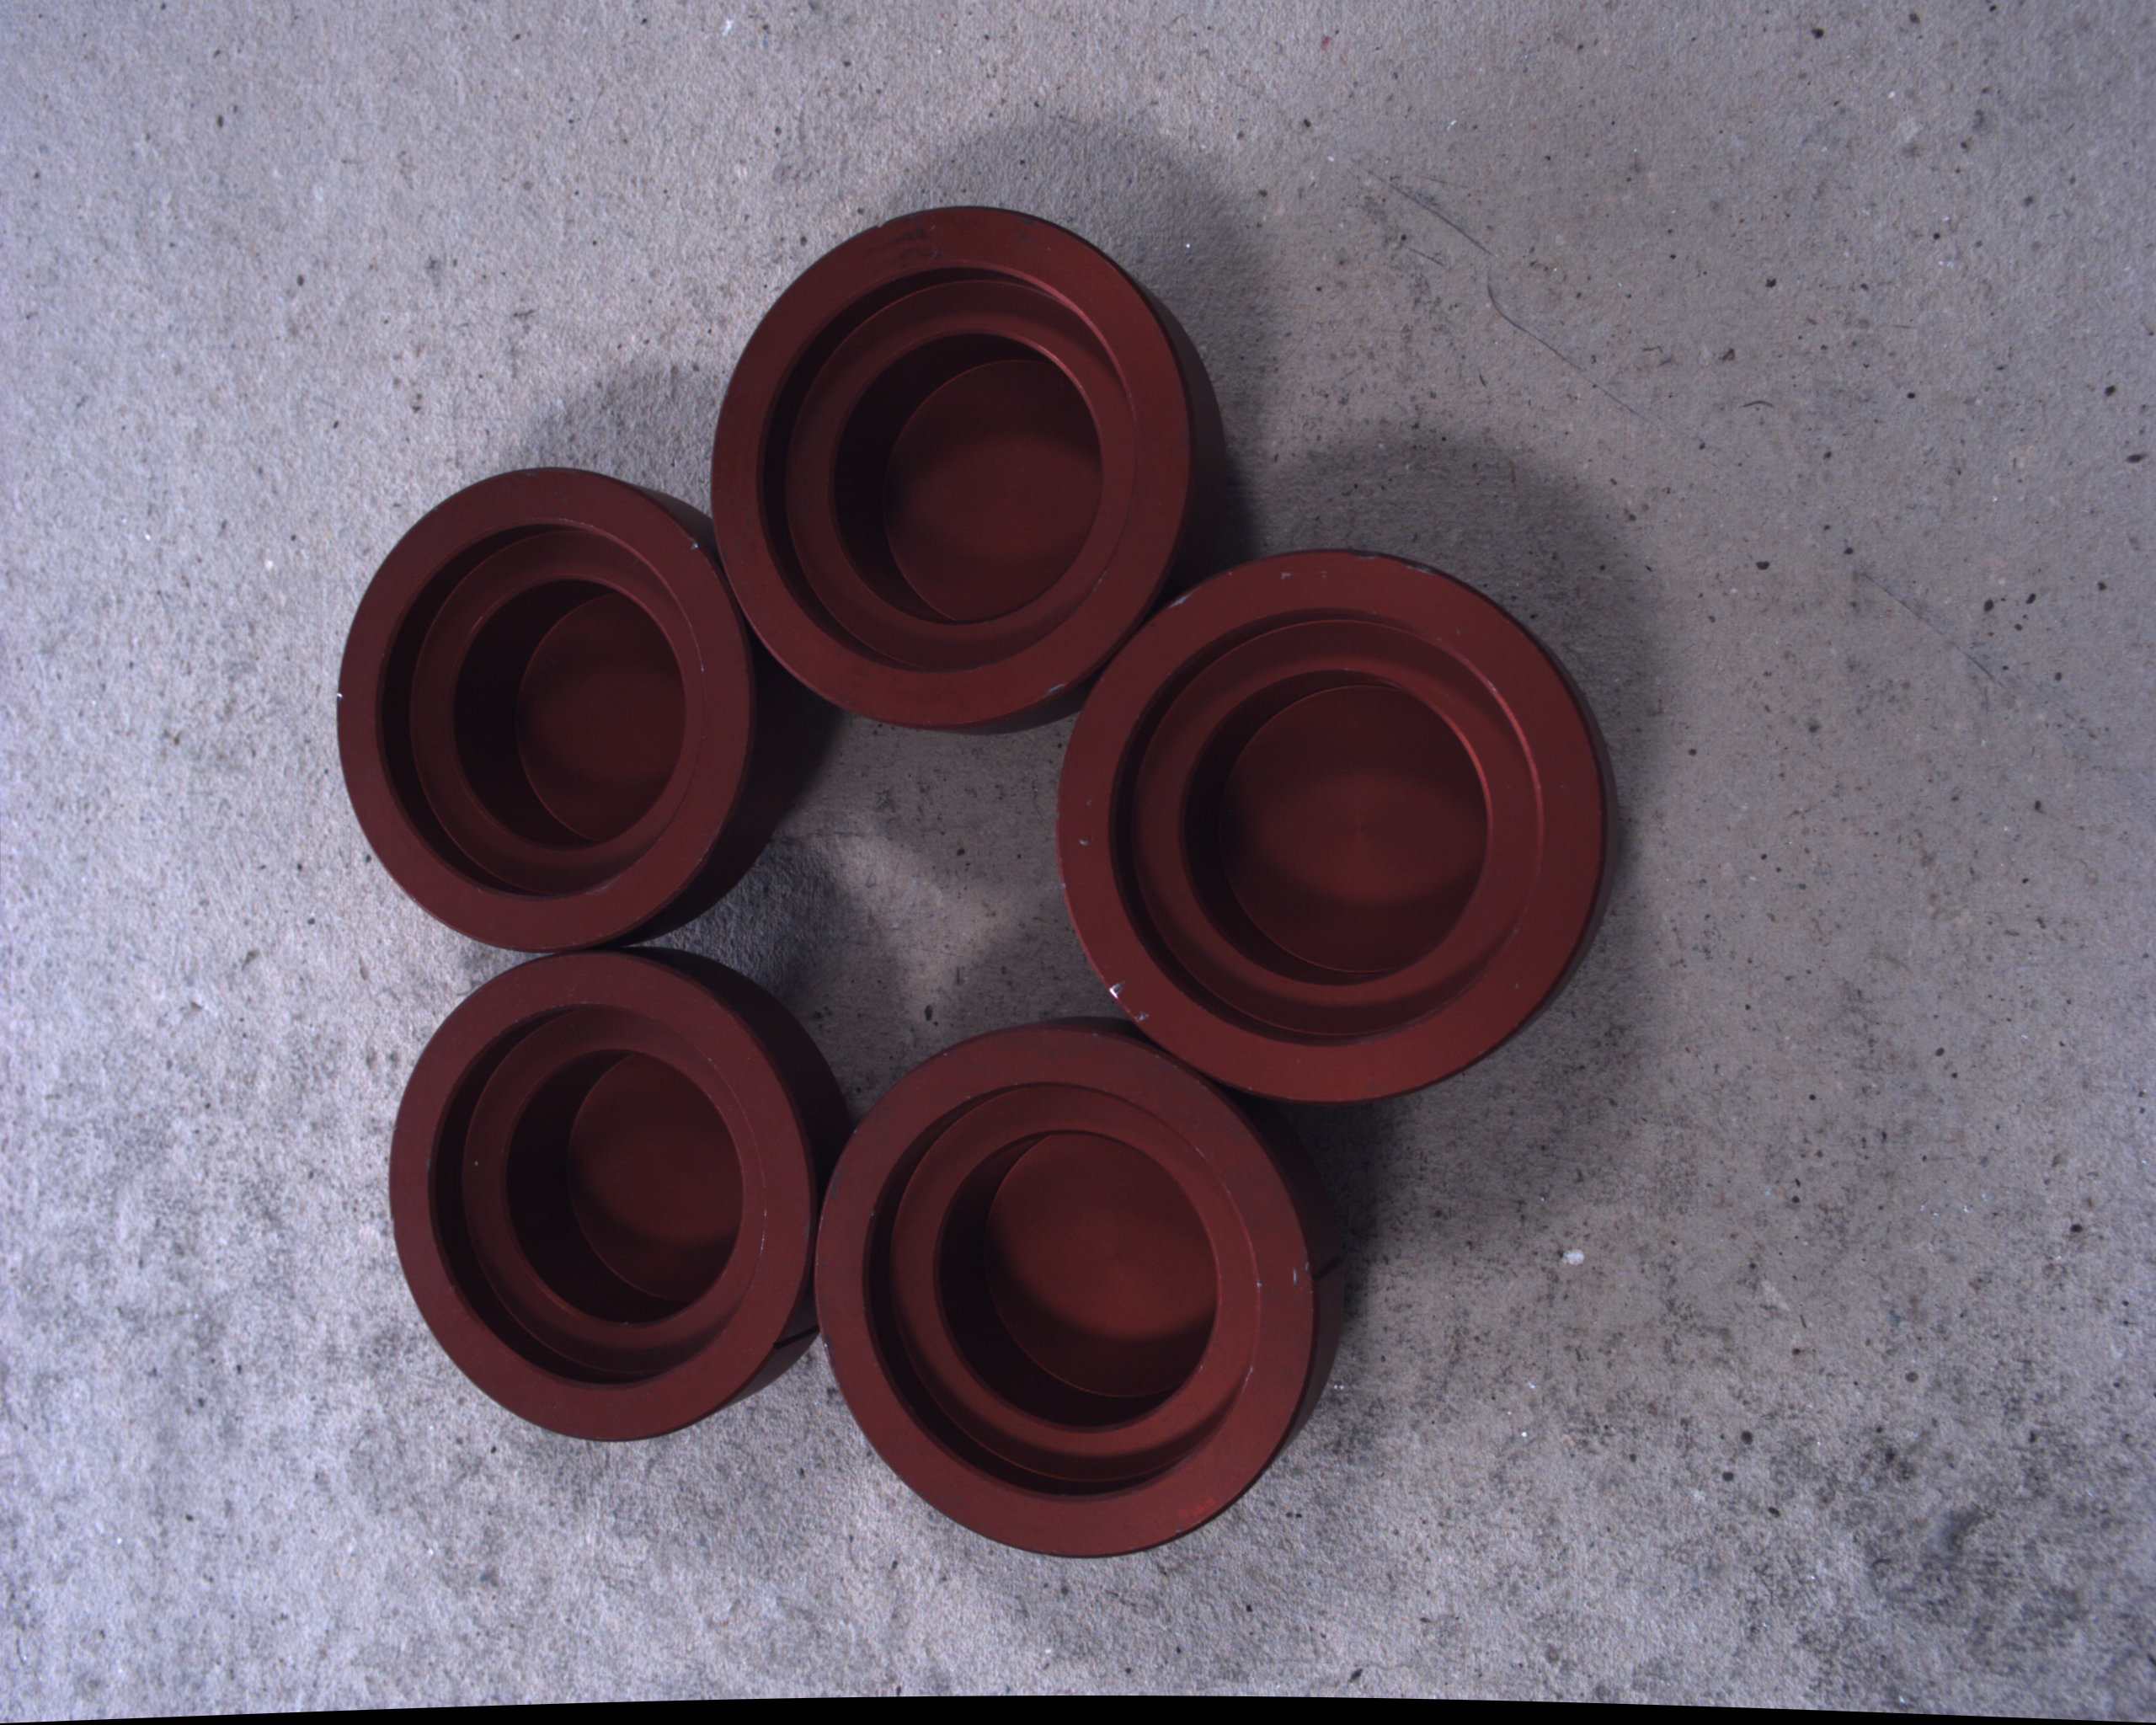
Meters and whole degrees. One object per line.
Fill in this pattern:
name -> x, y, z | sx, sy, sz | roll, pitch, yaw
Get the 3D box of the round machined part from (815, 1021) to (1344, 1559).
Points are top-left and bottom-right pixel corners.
round machined part -> 0.003, 0.078, 0.400 | 0.098, 0.042, 0.097 | 0, 89, 19

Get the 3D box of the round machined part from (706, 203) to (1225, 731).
round machined part -> -0.019, -0.074, 0.407 | 0.098, 0.042, 0.097 | 0, 88, 18

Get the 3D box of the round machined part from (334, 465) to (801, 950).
round machined part -> -0.102, -0.031, 0.437 | 0.098, 0.042, 0.097 | 0, 88, 19

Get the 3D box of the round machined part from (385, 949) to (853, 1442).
round machined part -> -0.089, 0.066, 0.432 | 0.098, 0.042, 0.097 | 0, 88, 18

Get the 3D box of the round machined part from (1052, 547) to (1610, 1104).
round machined part -> 0.048, -0.006, 0.383 | 0.098, 0.042, 0.097 | 0, 88, 18
